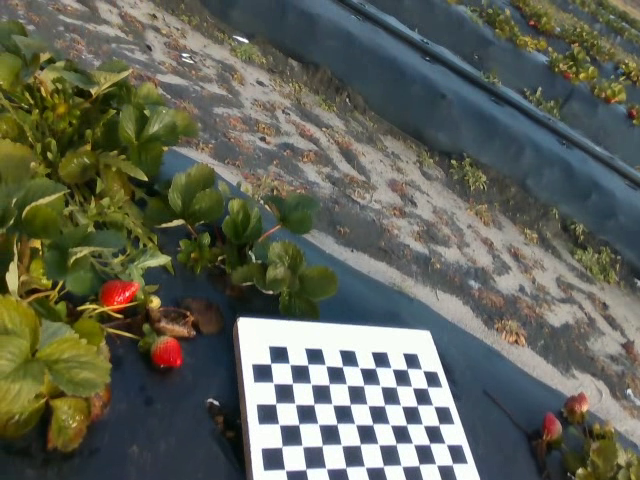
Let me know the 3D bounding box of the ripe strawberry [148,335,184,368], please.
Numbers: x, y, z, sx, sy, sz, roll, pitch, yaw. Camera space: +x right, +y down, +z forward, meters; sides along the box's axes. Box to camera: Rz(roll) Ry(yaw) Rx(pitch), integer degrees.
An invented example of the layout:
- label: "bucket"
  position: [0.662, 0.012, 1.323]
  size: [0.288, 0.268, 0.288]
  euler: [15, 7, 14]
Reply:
- label: "ripe strawberry"
  position: [-0.165, 0.122, 0.686]
  size: [0.043, 0.030, 0.035]
  euler: [42, 42, 16]

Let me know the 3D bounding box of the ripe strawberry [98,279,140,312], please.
- label: "ripe strawberry"
  position: [-0.225, 0.056, 0.707]
  size: [0.048, 0.040, 0.032]
  euler: [-28, -30, 1]
